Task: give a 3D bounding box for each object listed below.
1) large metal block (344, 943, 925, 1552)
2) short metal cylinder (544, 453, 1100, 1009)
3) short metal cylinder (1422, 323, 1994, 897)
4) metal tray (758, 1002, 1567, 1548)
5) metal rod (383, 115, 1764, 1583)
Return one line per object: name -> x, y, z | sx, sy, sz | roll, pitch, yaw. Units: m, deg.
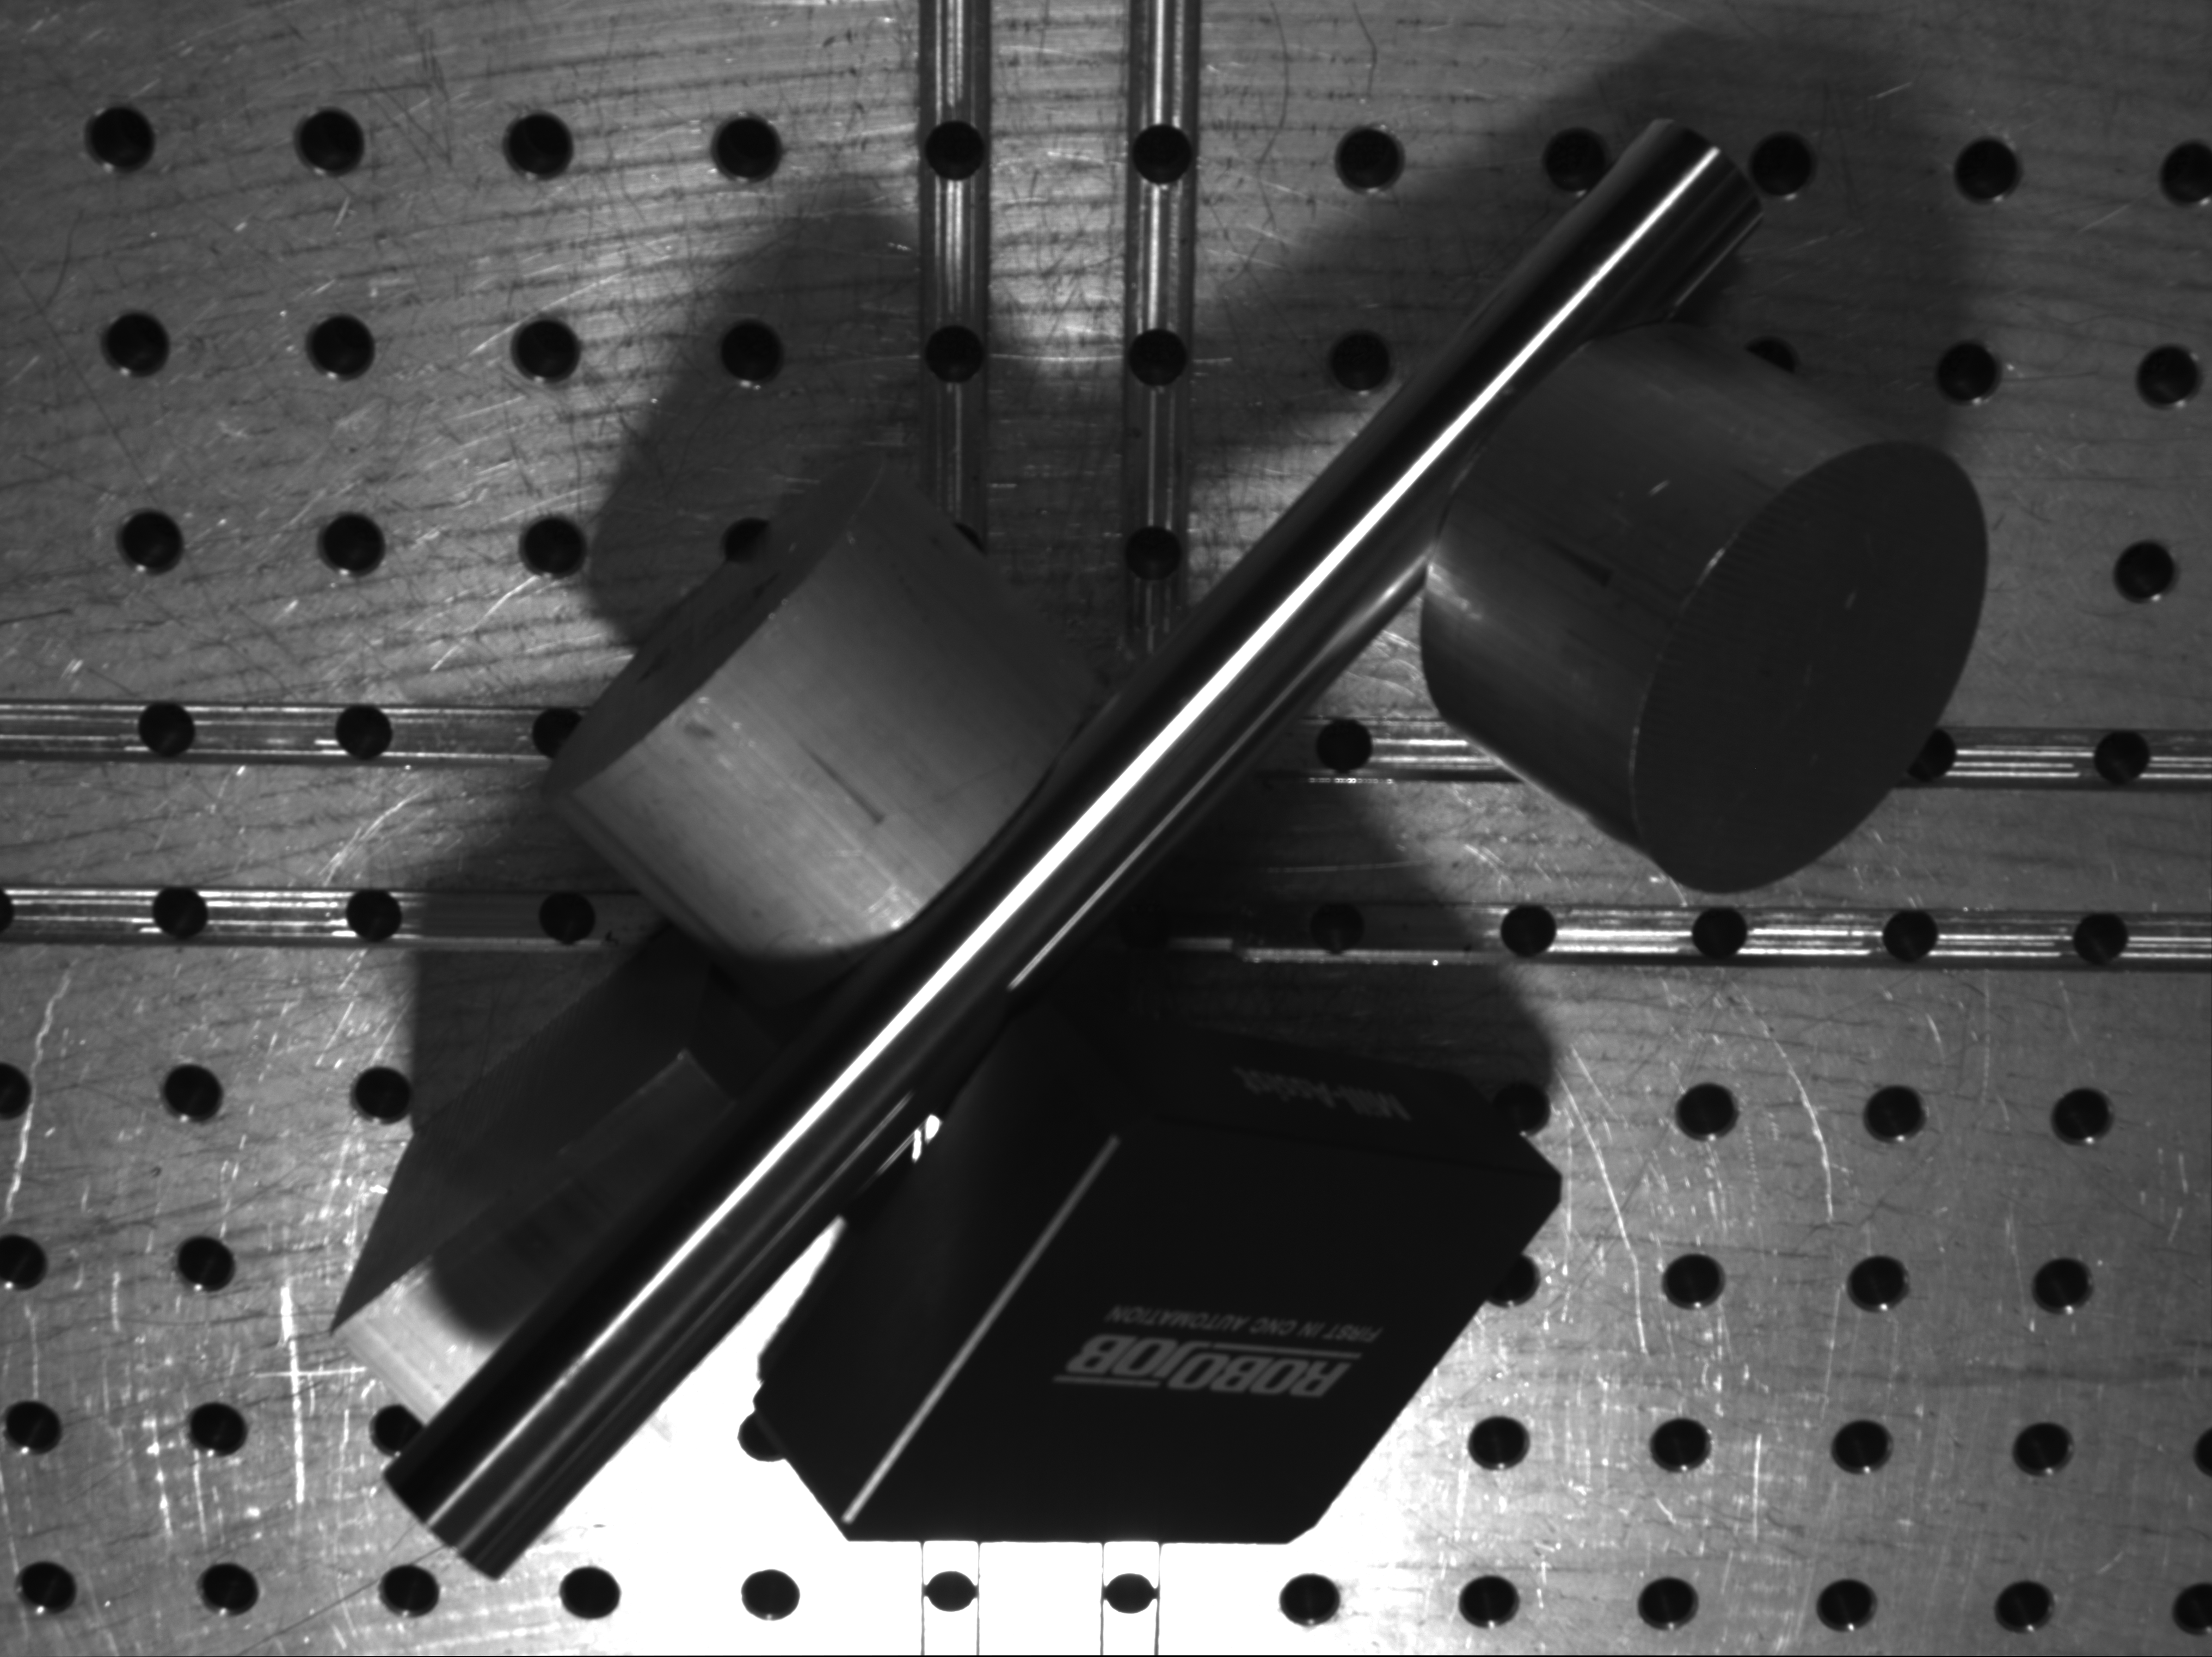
large metal block -> -0.079, 0.066, 0.639 | 0.080, 0.080, 0.050 | -38, 106, 12
short metal cylinder -> -0.047, -0.016, 0.610 | 0.080, 0.080, 0.050 | -42, 105, 13
short metal cylinder -> 0.099, -0.036, 0.599 | 0.080, 0.050, 0.080 | -24, 132, -29
metal tray -> 0.013, 0.080, 0.630 | 0.130, 0.030, 0.090 | 13, 116, -50
metal rod -> -0.002, 0.000, 0.589 | 0.025, 0.025, 0.300 | 45, 82, -15
